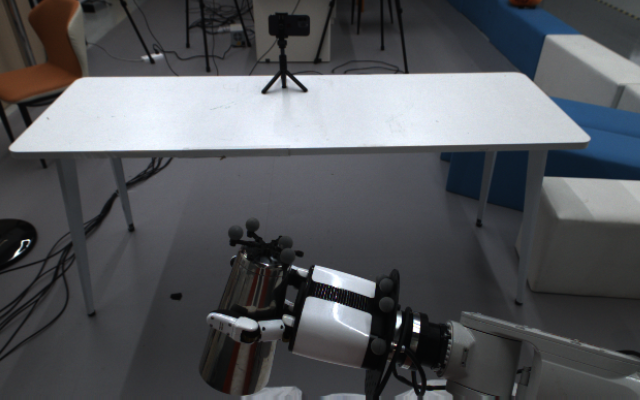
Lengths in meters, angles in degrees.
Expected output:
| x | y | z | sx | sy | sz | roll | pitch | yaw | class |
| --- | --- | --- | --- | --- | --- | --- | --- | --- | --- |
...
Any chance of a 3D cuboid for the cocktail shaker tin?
| x | y | z | sx | sy | sz | roll | pitch | yaw | class |
| --- | --- | --- | --- | --- | --- | --- | --- | --- | --- |
| -0.087 | 0.141 | 0.597 | 0.093 | 0.170 | 0.093 | 15 | 17 | -5 | cocktail shaker tin |
